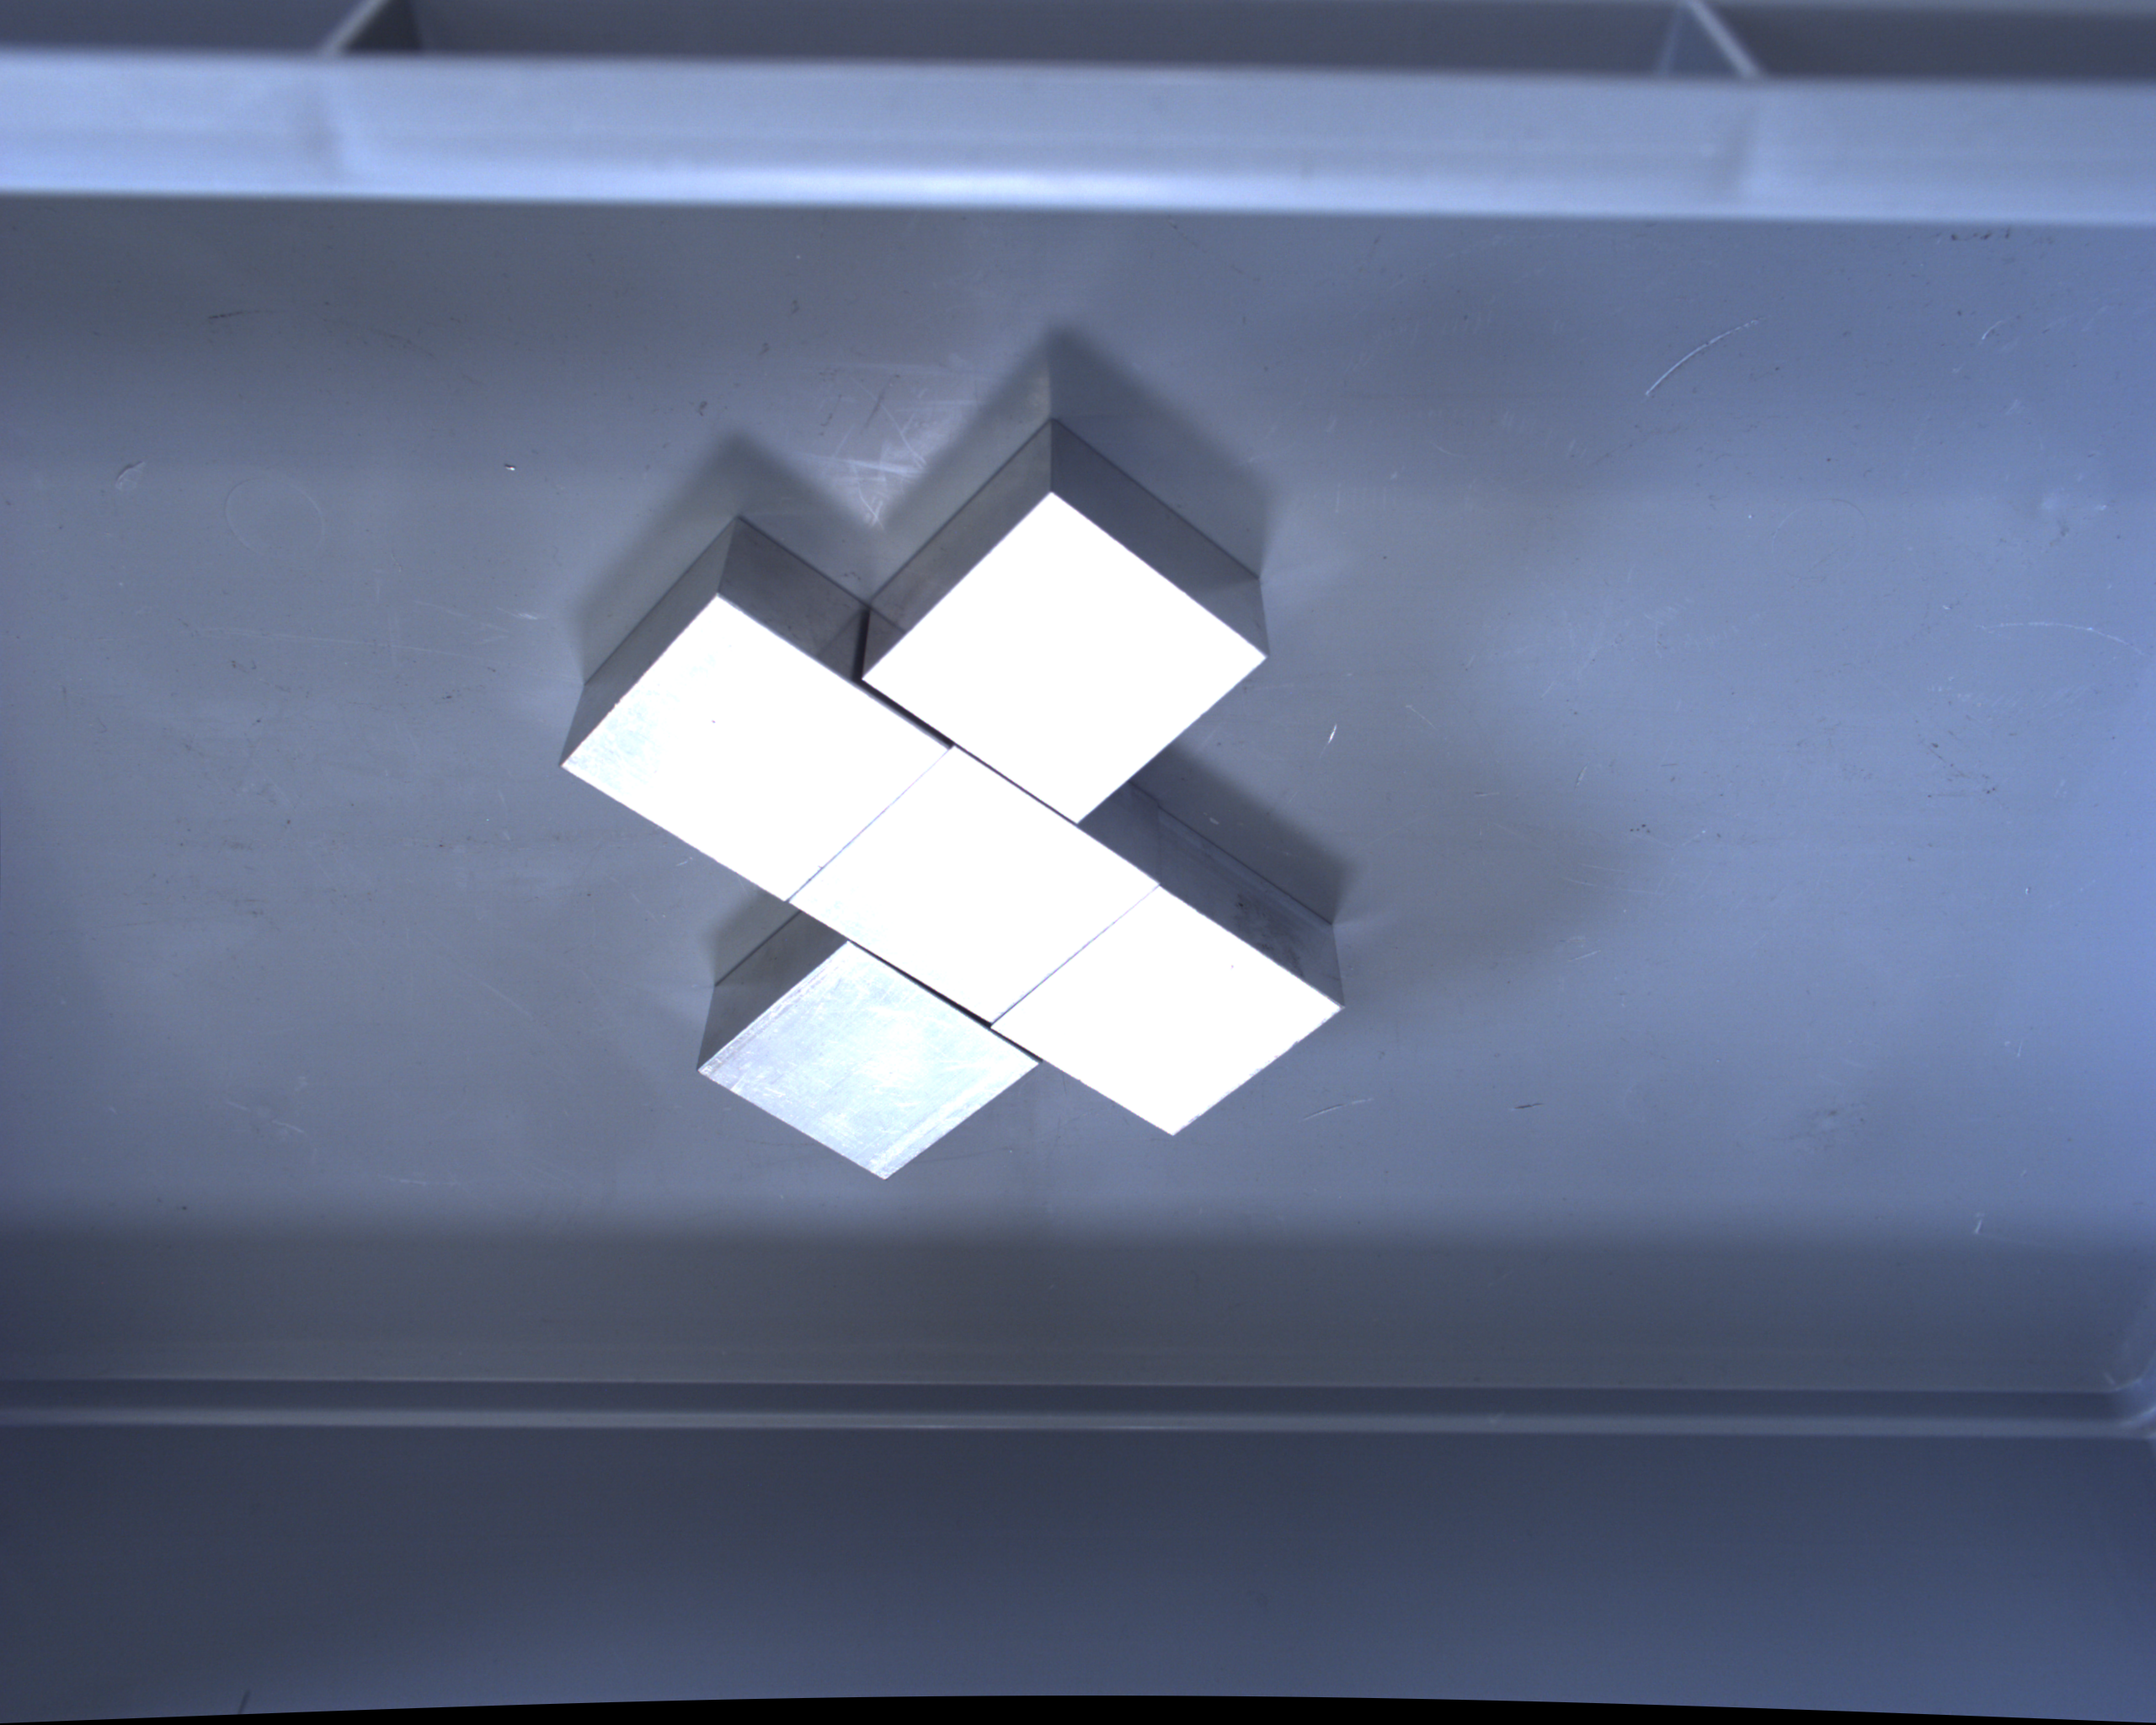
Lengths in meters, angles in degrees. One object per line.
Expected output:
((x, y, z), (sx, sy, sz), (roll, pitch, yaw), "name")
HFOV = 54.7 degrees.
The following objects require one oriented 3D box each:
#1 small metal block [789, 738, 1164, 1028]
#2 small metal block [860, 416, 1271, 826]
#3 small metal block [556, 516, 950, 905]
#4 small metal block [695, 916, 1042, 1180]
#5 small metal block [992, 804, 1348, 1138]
((-0.019, -0.002, 0.404), (0.050, 0.025, 0.050), (34, 122, -26), "small metal block")
((-0.002, -0.042, 0.370), (0.050, 0.025, 0.050), (34, 121, -26), "small metal block")
((-0.058, -0.027, 0.383), (0.050, 0.025, 0.050), (34, 122, -26), "small metal block")
((-0.043, 0.034, 0.435), (0.050, 0.025, 0.050), (35, 123, -26), "small metal block")
((0.018, 0.023, 0.426), (0.050, 0.025, 0.050), (34, 122, -26), "small metal block")
